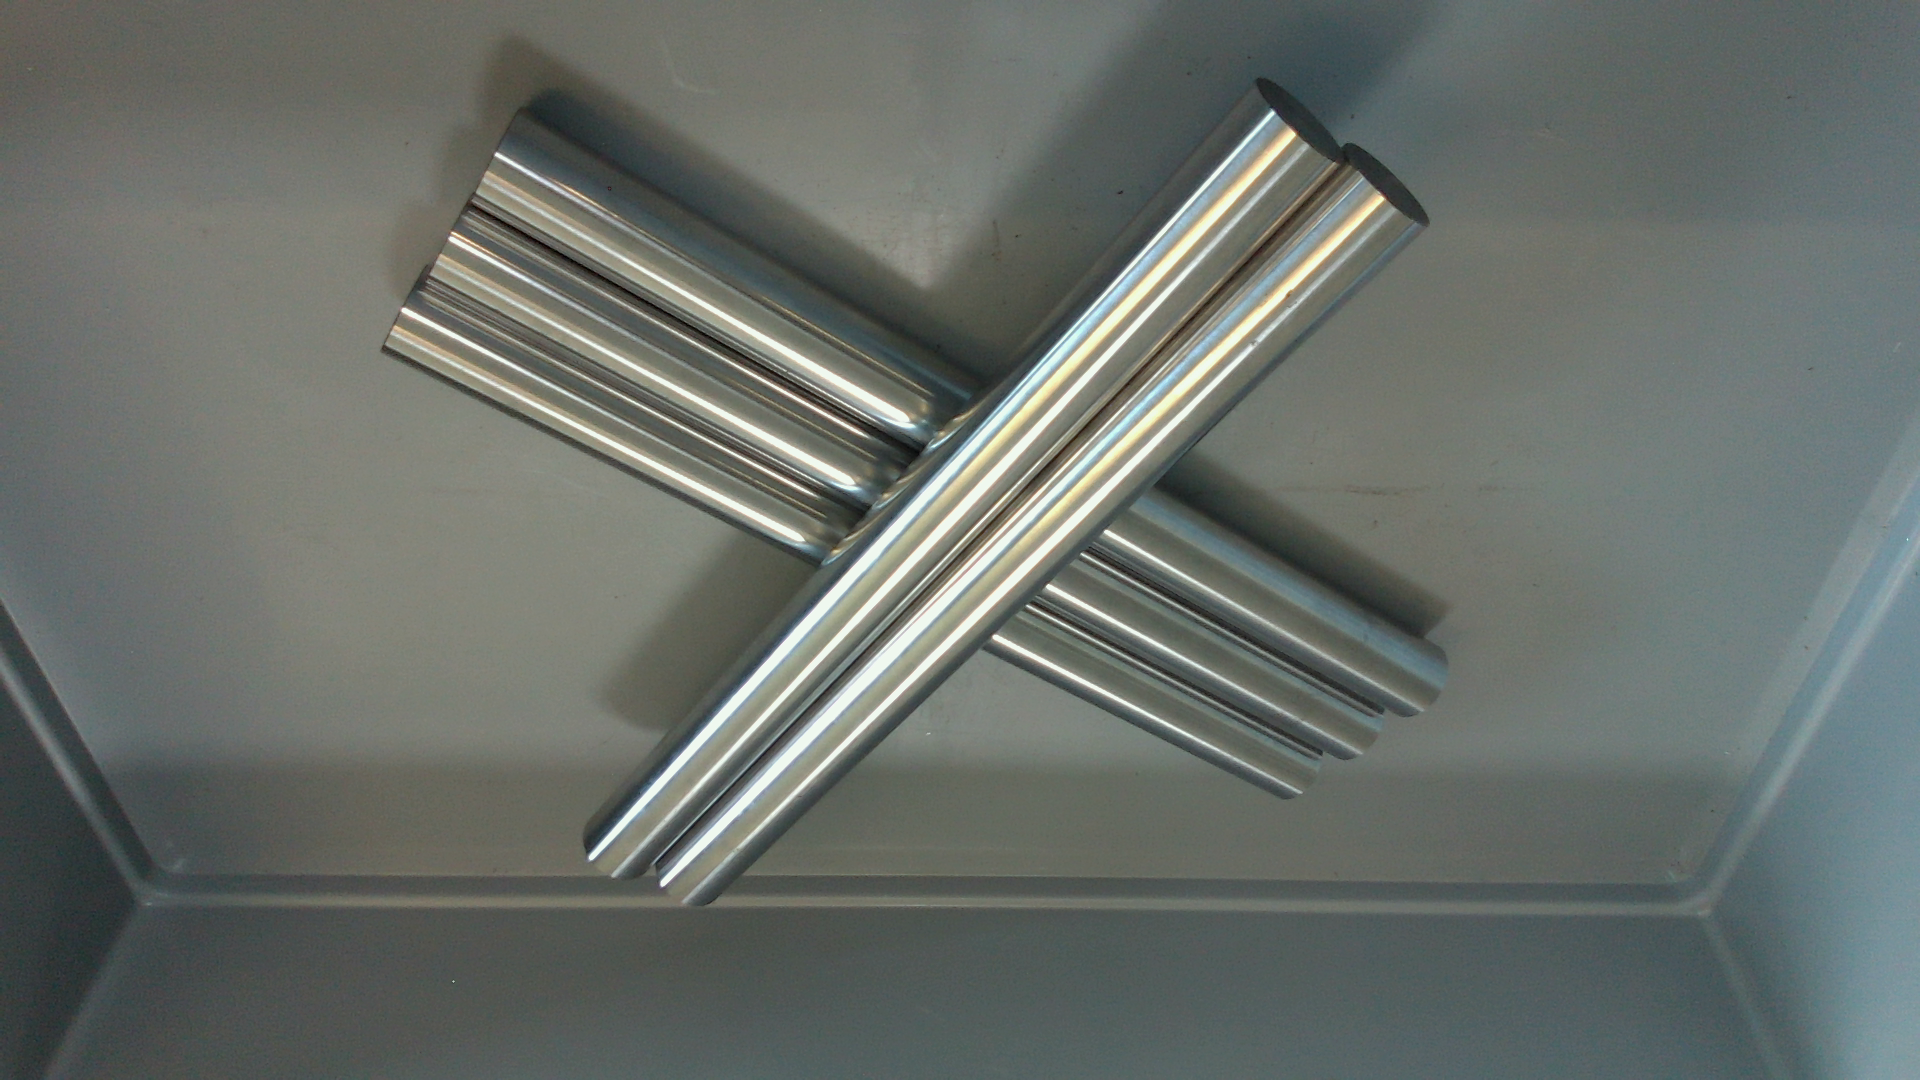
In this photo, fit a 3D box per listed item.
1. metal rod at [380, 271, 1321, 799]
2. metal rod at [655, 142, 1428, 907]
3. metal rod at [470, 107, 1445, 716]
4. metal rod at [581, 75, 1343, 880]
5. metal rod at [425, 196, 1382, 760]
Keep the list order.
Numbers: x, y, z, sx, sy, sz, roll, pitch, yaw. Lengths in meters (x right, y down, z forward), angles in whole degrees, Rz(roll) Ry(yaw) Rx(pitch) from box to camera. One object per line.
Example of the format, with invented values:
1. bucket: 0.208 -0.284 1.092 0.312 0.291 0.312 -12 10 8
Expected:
1. metal rod: -0.014 0.008 0.396 0.301 0.025 0.025 28 125 -22
2. metal rod: 0.001 0.016 0.370 0.025 0.025 0.299 30 124 -23
3. metal rod: 0.017 -0.022 0.370 0.301 0.025 0.025 28 125 -22
4. metal rod: -0.020 0.005 0.360 0.025 0.025 0.299 30 124 -23
5. metal rod: 0.002 -0.006 0.384 0.301 0.025 0.025 28 125 -22
